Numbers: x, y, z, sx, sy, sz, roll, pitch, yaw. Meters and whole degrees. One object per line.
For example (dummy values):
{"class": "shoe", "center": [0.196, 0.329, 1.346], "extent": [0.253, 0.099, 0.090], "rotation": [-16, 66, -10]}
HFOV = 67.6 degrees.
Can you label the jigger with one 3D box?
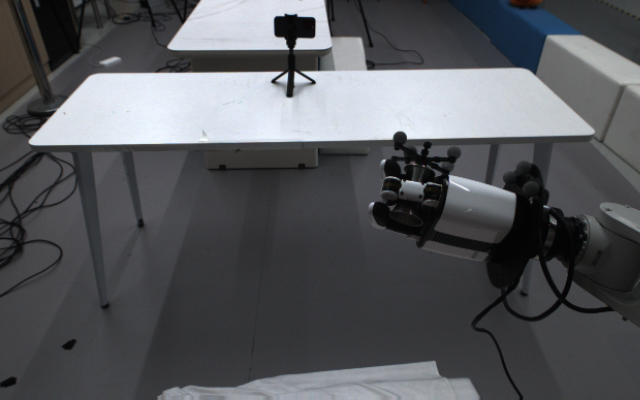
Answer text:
{"class": "jigger", "center": [0.120, -0.007, 0.612], "extent": [0.043, 0.043, 0.071], "rotation": [13, 72, 15]}
